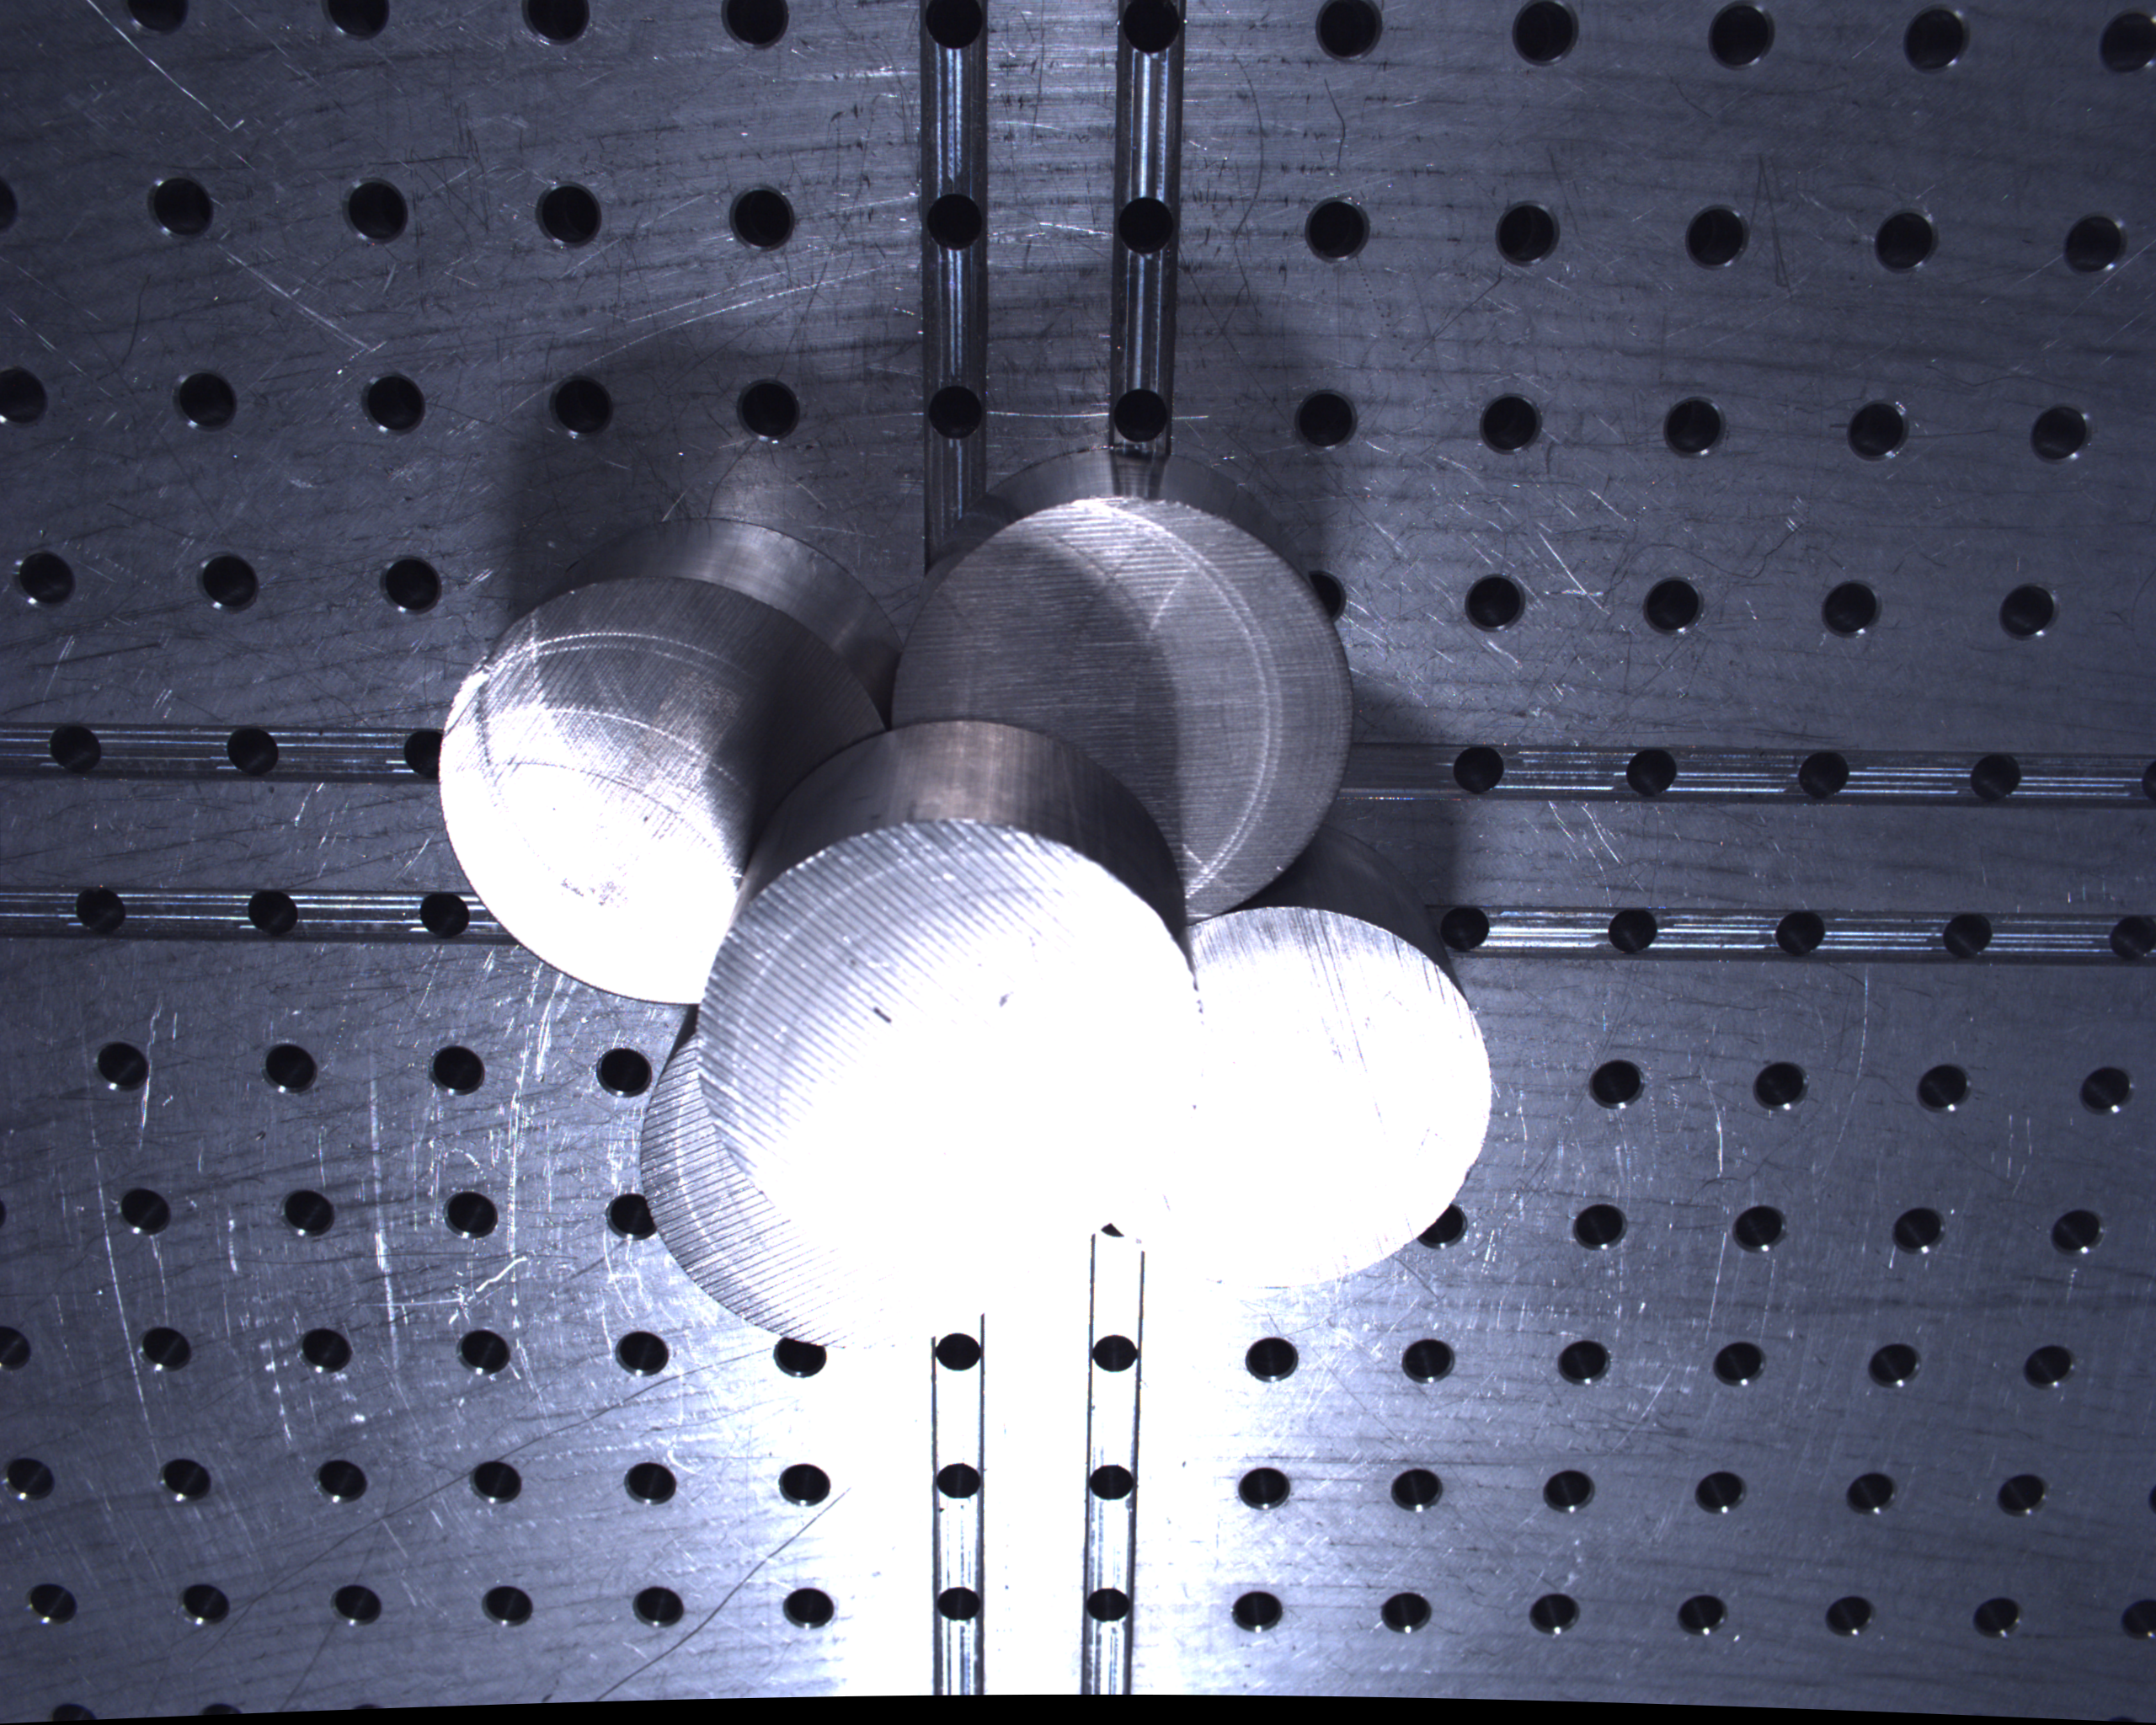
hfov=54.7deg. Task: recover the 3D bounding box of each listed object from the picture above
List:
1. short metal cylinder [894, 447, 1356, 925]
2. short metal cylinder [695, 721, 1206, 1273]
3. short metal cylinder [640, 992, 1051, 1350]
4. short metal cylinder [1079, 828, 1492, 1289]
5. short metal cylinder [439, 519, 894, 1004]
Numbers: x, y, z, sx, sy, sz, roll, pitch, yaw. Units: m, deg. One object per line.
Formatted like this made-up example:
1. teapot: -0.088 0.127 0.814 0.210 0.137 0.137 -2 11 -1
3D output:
1. short metal cylinder: 0.008 -0.033 0.387 0.081 0.050 0.079 0 110 -1
2. short metal cylinder: -0.020 0.022 0.352 0.081 0.050 0.079 -1 112 -1
3. short metal cylinder: -0.042 0.049 0.417 0.081 0.050 0.079 0 110 -1
4. short metal cylinder: 0.037 0.037 0.413 0.081 0.050 0.079 0 110 -1
5. short metal cylinder: -0.072 -0.020 0.391 0.081 0.050 0.079 0 110 -1
